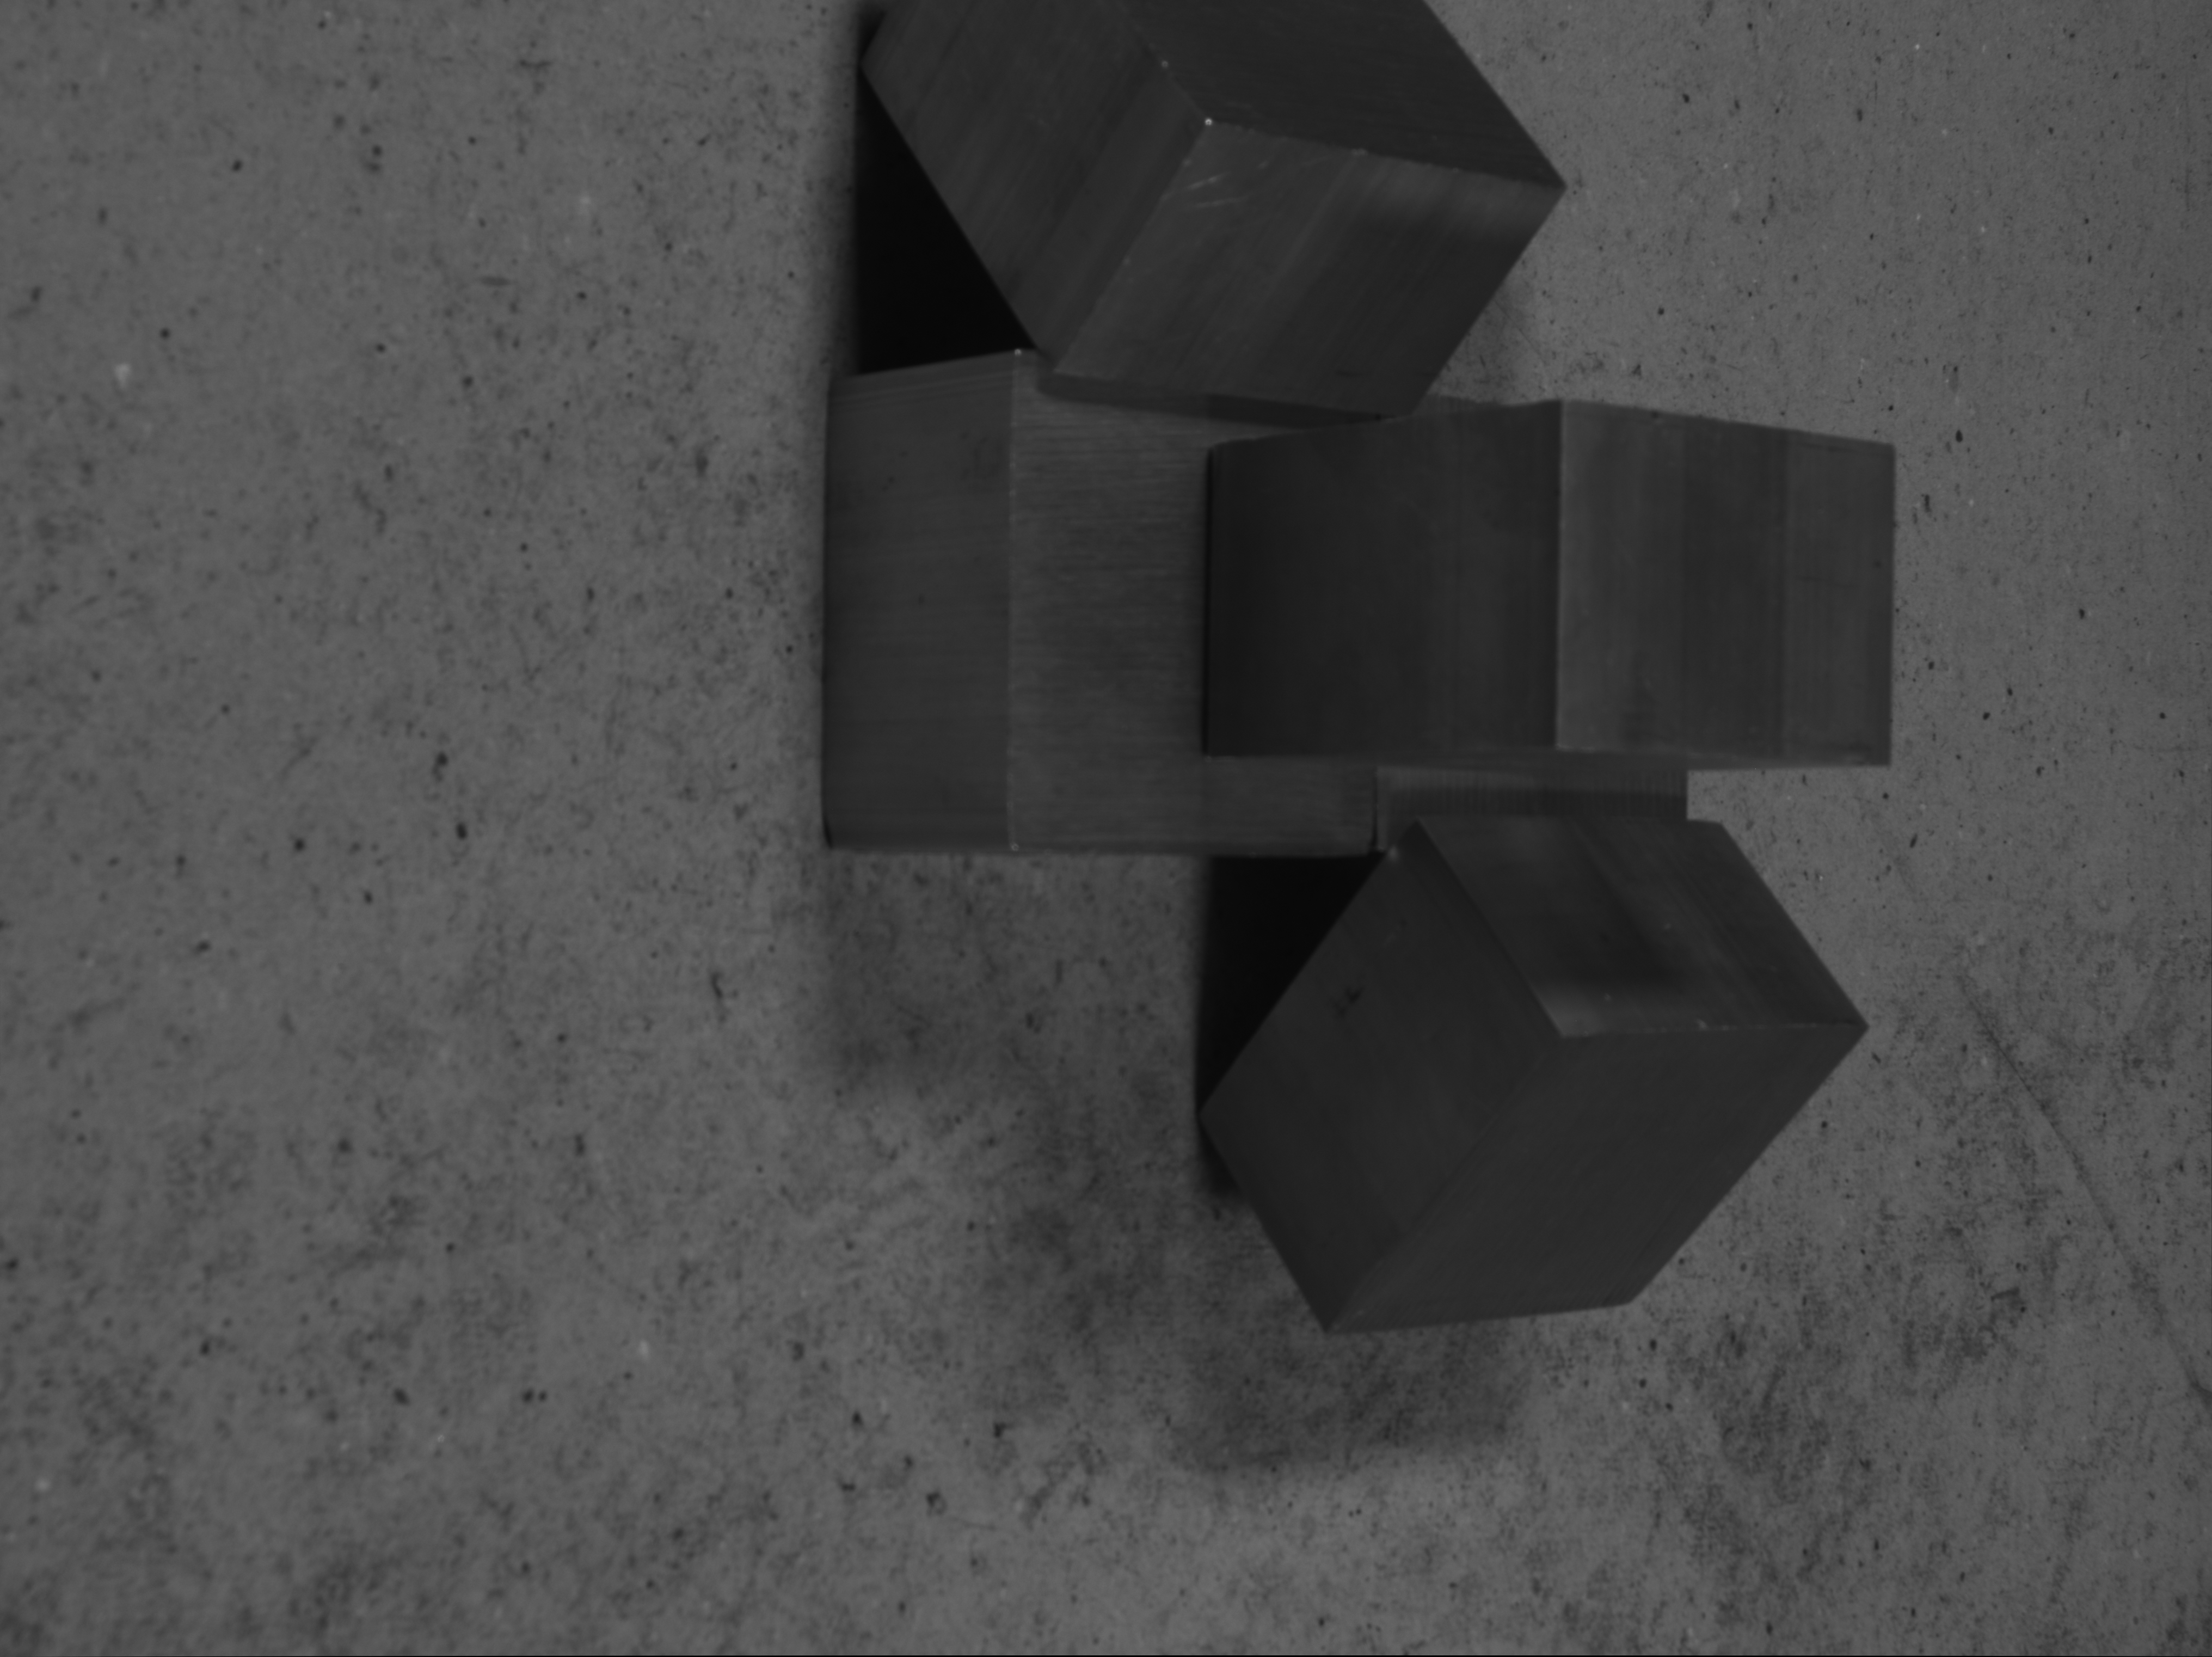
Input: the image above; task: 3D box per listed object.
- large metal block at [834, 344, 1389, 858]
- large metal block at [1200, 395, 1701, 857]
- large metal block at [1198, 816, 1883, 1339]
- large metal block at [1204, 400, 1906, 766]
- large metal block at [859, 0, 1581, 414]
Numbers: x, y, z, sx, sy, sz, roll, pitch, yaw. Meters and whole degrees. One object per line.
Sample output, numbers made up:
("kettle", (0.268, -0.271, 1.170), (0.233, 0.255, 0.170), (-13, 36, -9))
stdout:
("large metal block", (0.002, -0.035, 0.620), (0.080, 0.050, 0.080), (1, 89, -40))
("large metal block", (0.064, -0.035, 0.672), (0.080, 0.050, 0.080), (1, 89, -40))
("large metal block", (0.077, 0.044, 0.658), (0.080, 0.080, 0.050), (1, 45, -40))
("large metal block", (0.073, -0.037, 0.598), (0.080, 0.080, 0.050), (2, 89, -40))
("large metal block", (0.018, -0.117, 0.609), (0.080, 0.050, 0.080), (1, 46, -39))
